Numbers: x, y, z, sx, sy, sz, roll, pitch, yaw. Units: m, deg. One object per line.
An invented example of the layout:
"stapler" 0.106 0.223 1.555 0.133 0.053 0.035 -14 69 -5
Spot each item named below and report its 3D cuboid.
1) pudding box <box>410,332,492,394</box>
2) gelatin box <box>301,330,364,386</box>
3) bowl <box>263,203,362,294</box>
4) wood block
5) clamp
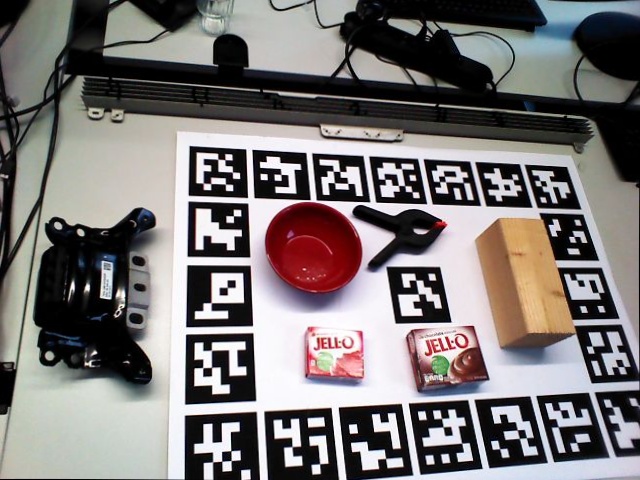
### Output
"pudding box" 0.202 0.192 0.809 0.114 0.039 0.089 0 69 -11
"gelatin box" 0.019 0.177 0.776 0.089 0.030 0.073 9 65 -9
"bowl" -0.017 0.020 0.838 0.161 0.055 0.161 5 67 -12
"wood block" 0.354 0.079 0.867 0.090 0.091 0.205 4 64 -12
"clamp" 0.136 -0.009 0.899 0.165 0.037 0.121 -8 67 -19
